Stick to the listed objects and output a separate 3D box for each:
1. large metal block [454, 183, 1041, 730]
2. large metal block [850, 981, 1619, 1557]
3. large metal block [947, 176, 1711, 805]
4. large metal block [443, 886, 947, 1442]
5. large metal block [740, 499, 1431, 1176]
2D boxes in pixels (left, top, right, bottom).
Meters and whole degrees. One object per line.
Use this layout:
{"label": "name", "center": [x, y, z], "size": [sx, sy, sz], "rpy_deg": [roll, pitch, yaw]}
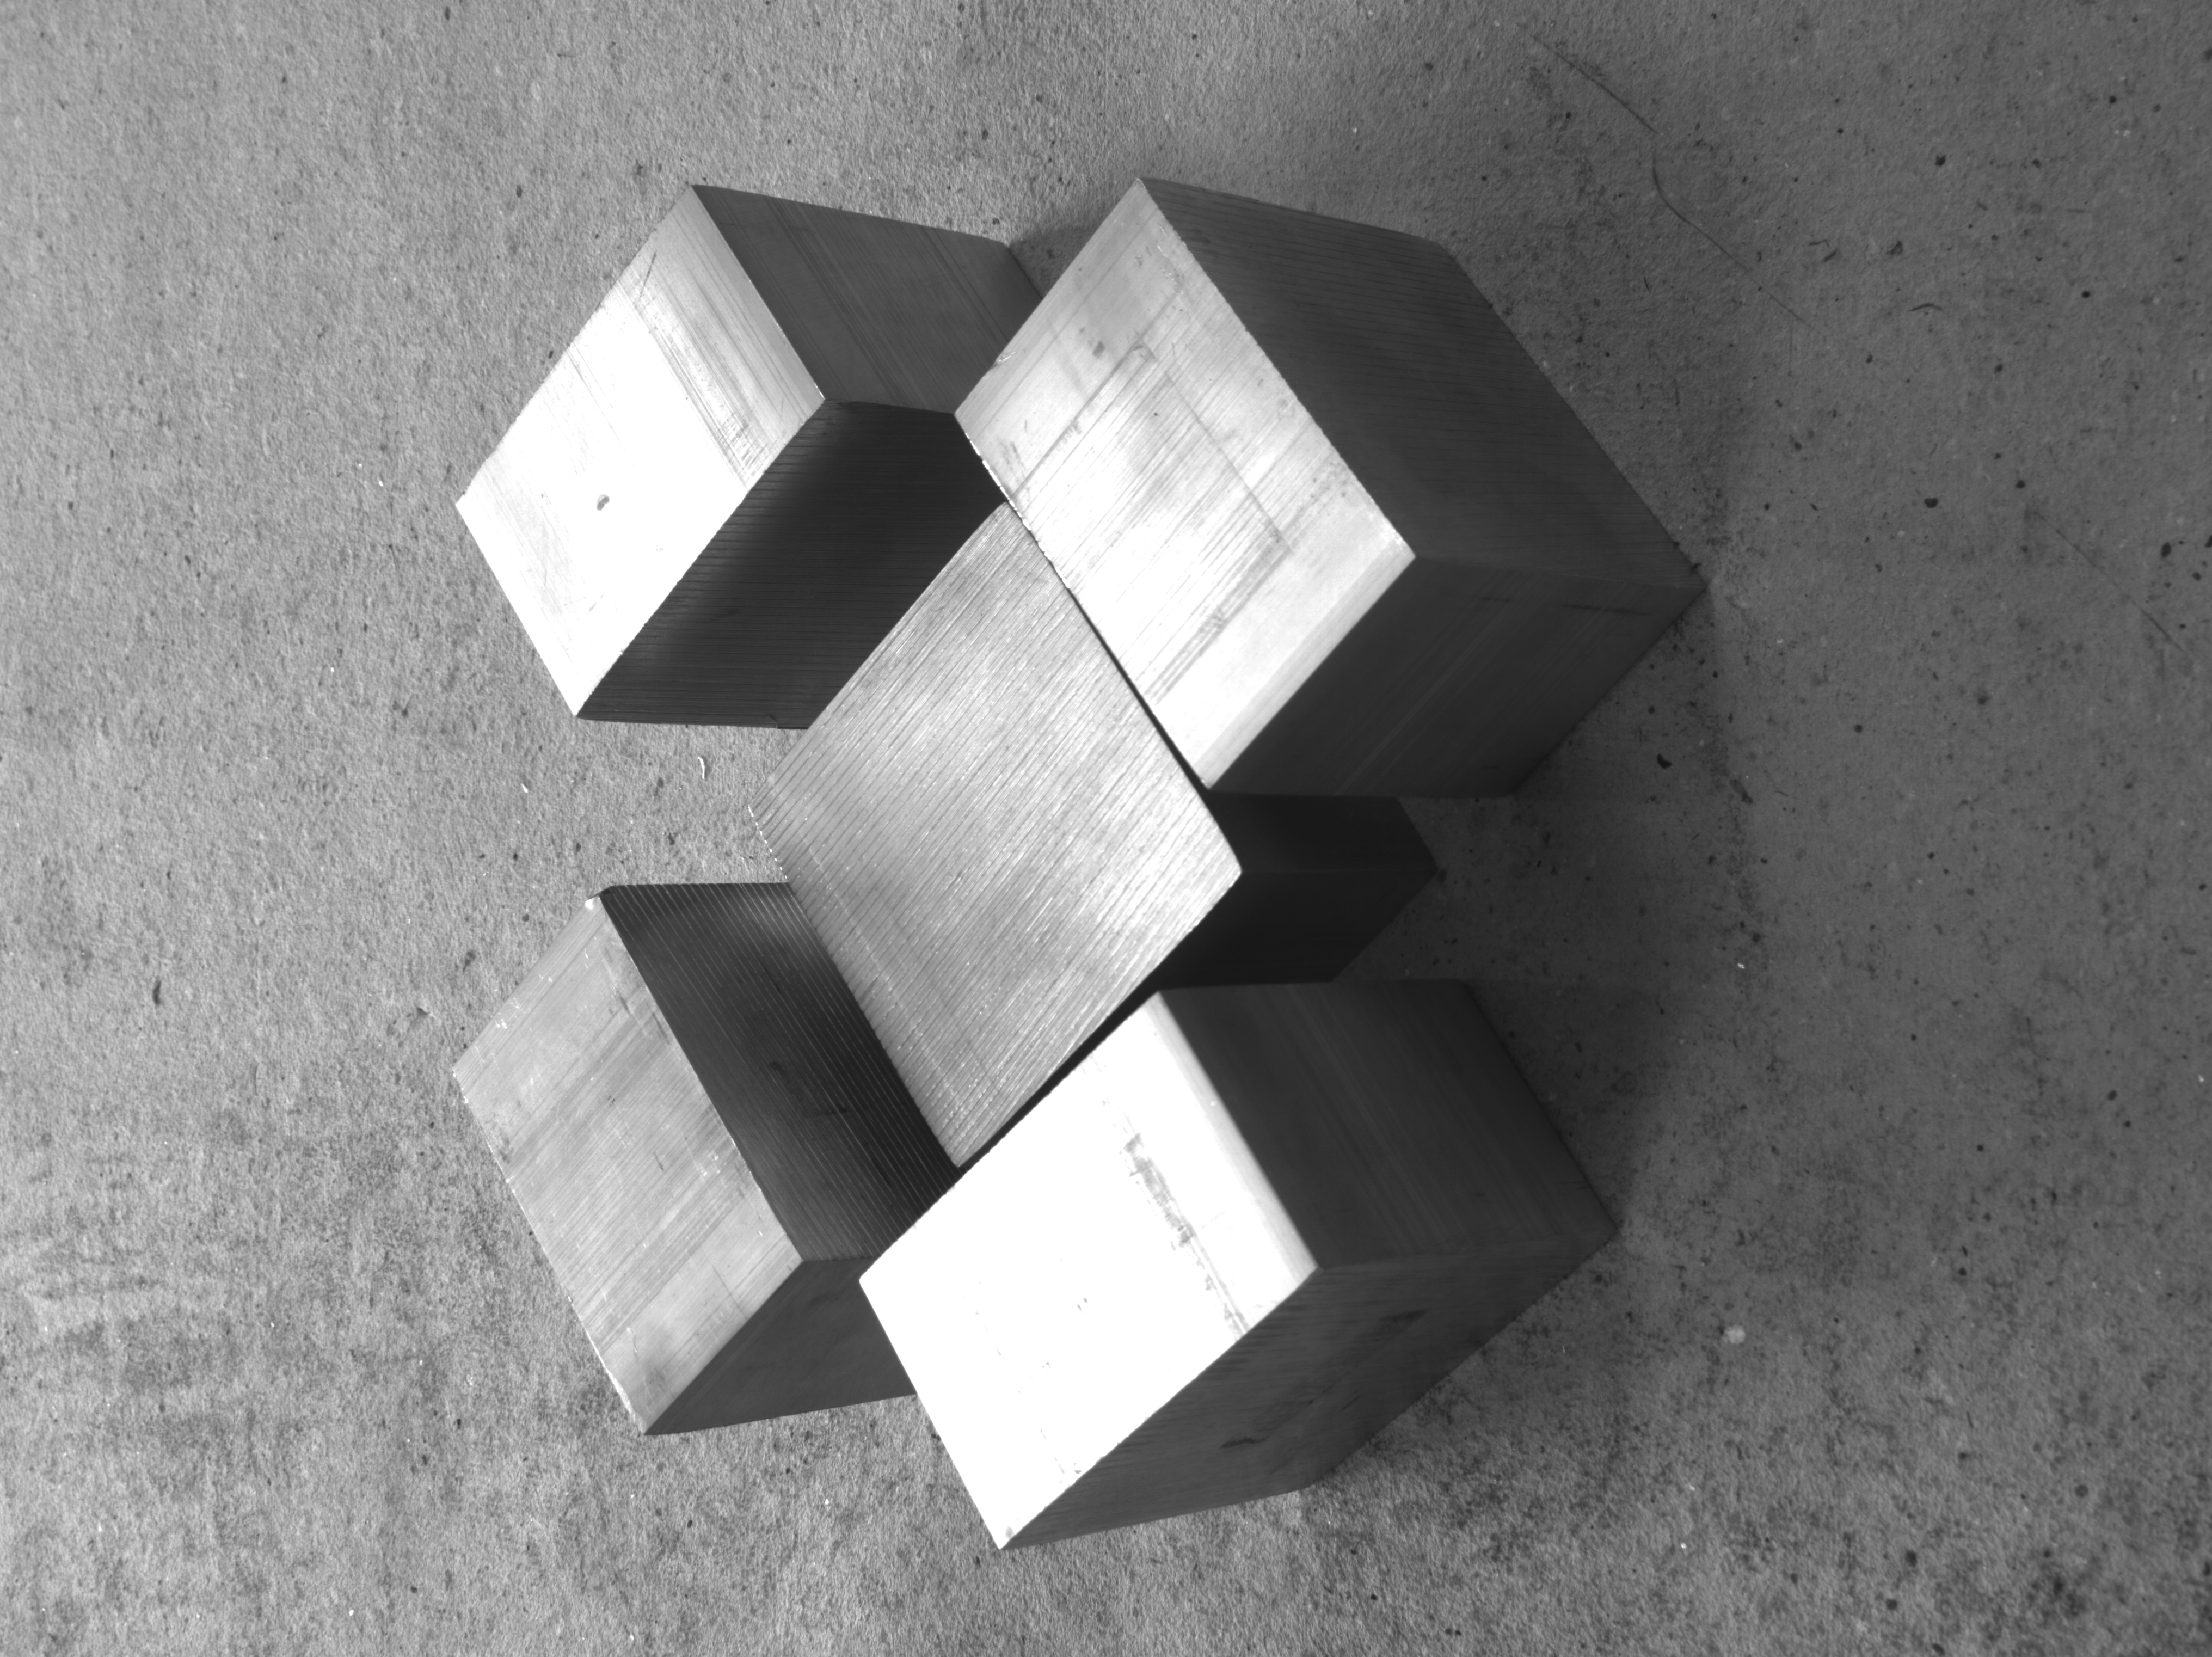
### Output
{"label": "large metal block", "center": [-0.055, -0.063, 0.656], "size": [0.080, 0.080, 0.050], "rpy_deg": [-47, 61, 30]}
{"label": "large metal block", "center": [0.021, 0.069, 0.591], "size": [0.080, 0.080, 0.050], "rpy_deg": [-45, 62, 30]}
{"label": "large metal block", "center": [0.035, -0.051, 0.580], "size": [0.050, 0.080, 0.080], "rpy_deg": [-48, 61, 29]}
{"label": "large metal block", "center": [-0.058, 0.057, 0.657], "size": [0.050, 0.080, 0.080], "rpy_deg": [-48, 61, 30]}
{"label": "large metal block", "center": [-0.005, 0.002, 0.630], "size": [0.080, 0.050, 0.080], "rpy_deg": [-47, 62, 30]}
